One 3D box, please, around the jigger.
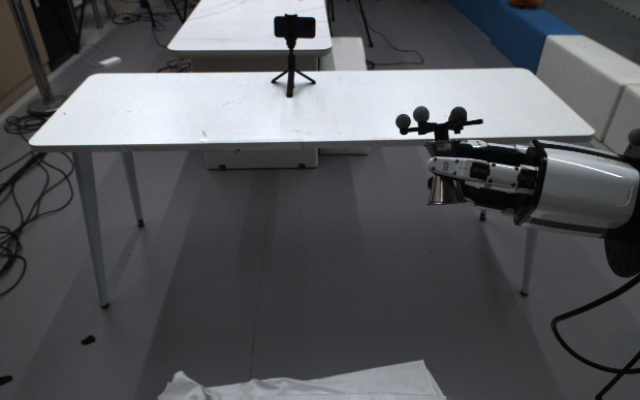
[{"bbox_3d":[0.136,-0.030,0.533,0.043,0.071,0.043,-4,1,0],"label":"jigger"}]
